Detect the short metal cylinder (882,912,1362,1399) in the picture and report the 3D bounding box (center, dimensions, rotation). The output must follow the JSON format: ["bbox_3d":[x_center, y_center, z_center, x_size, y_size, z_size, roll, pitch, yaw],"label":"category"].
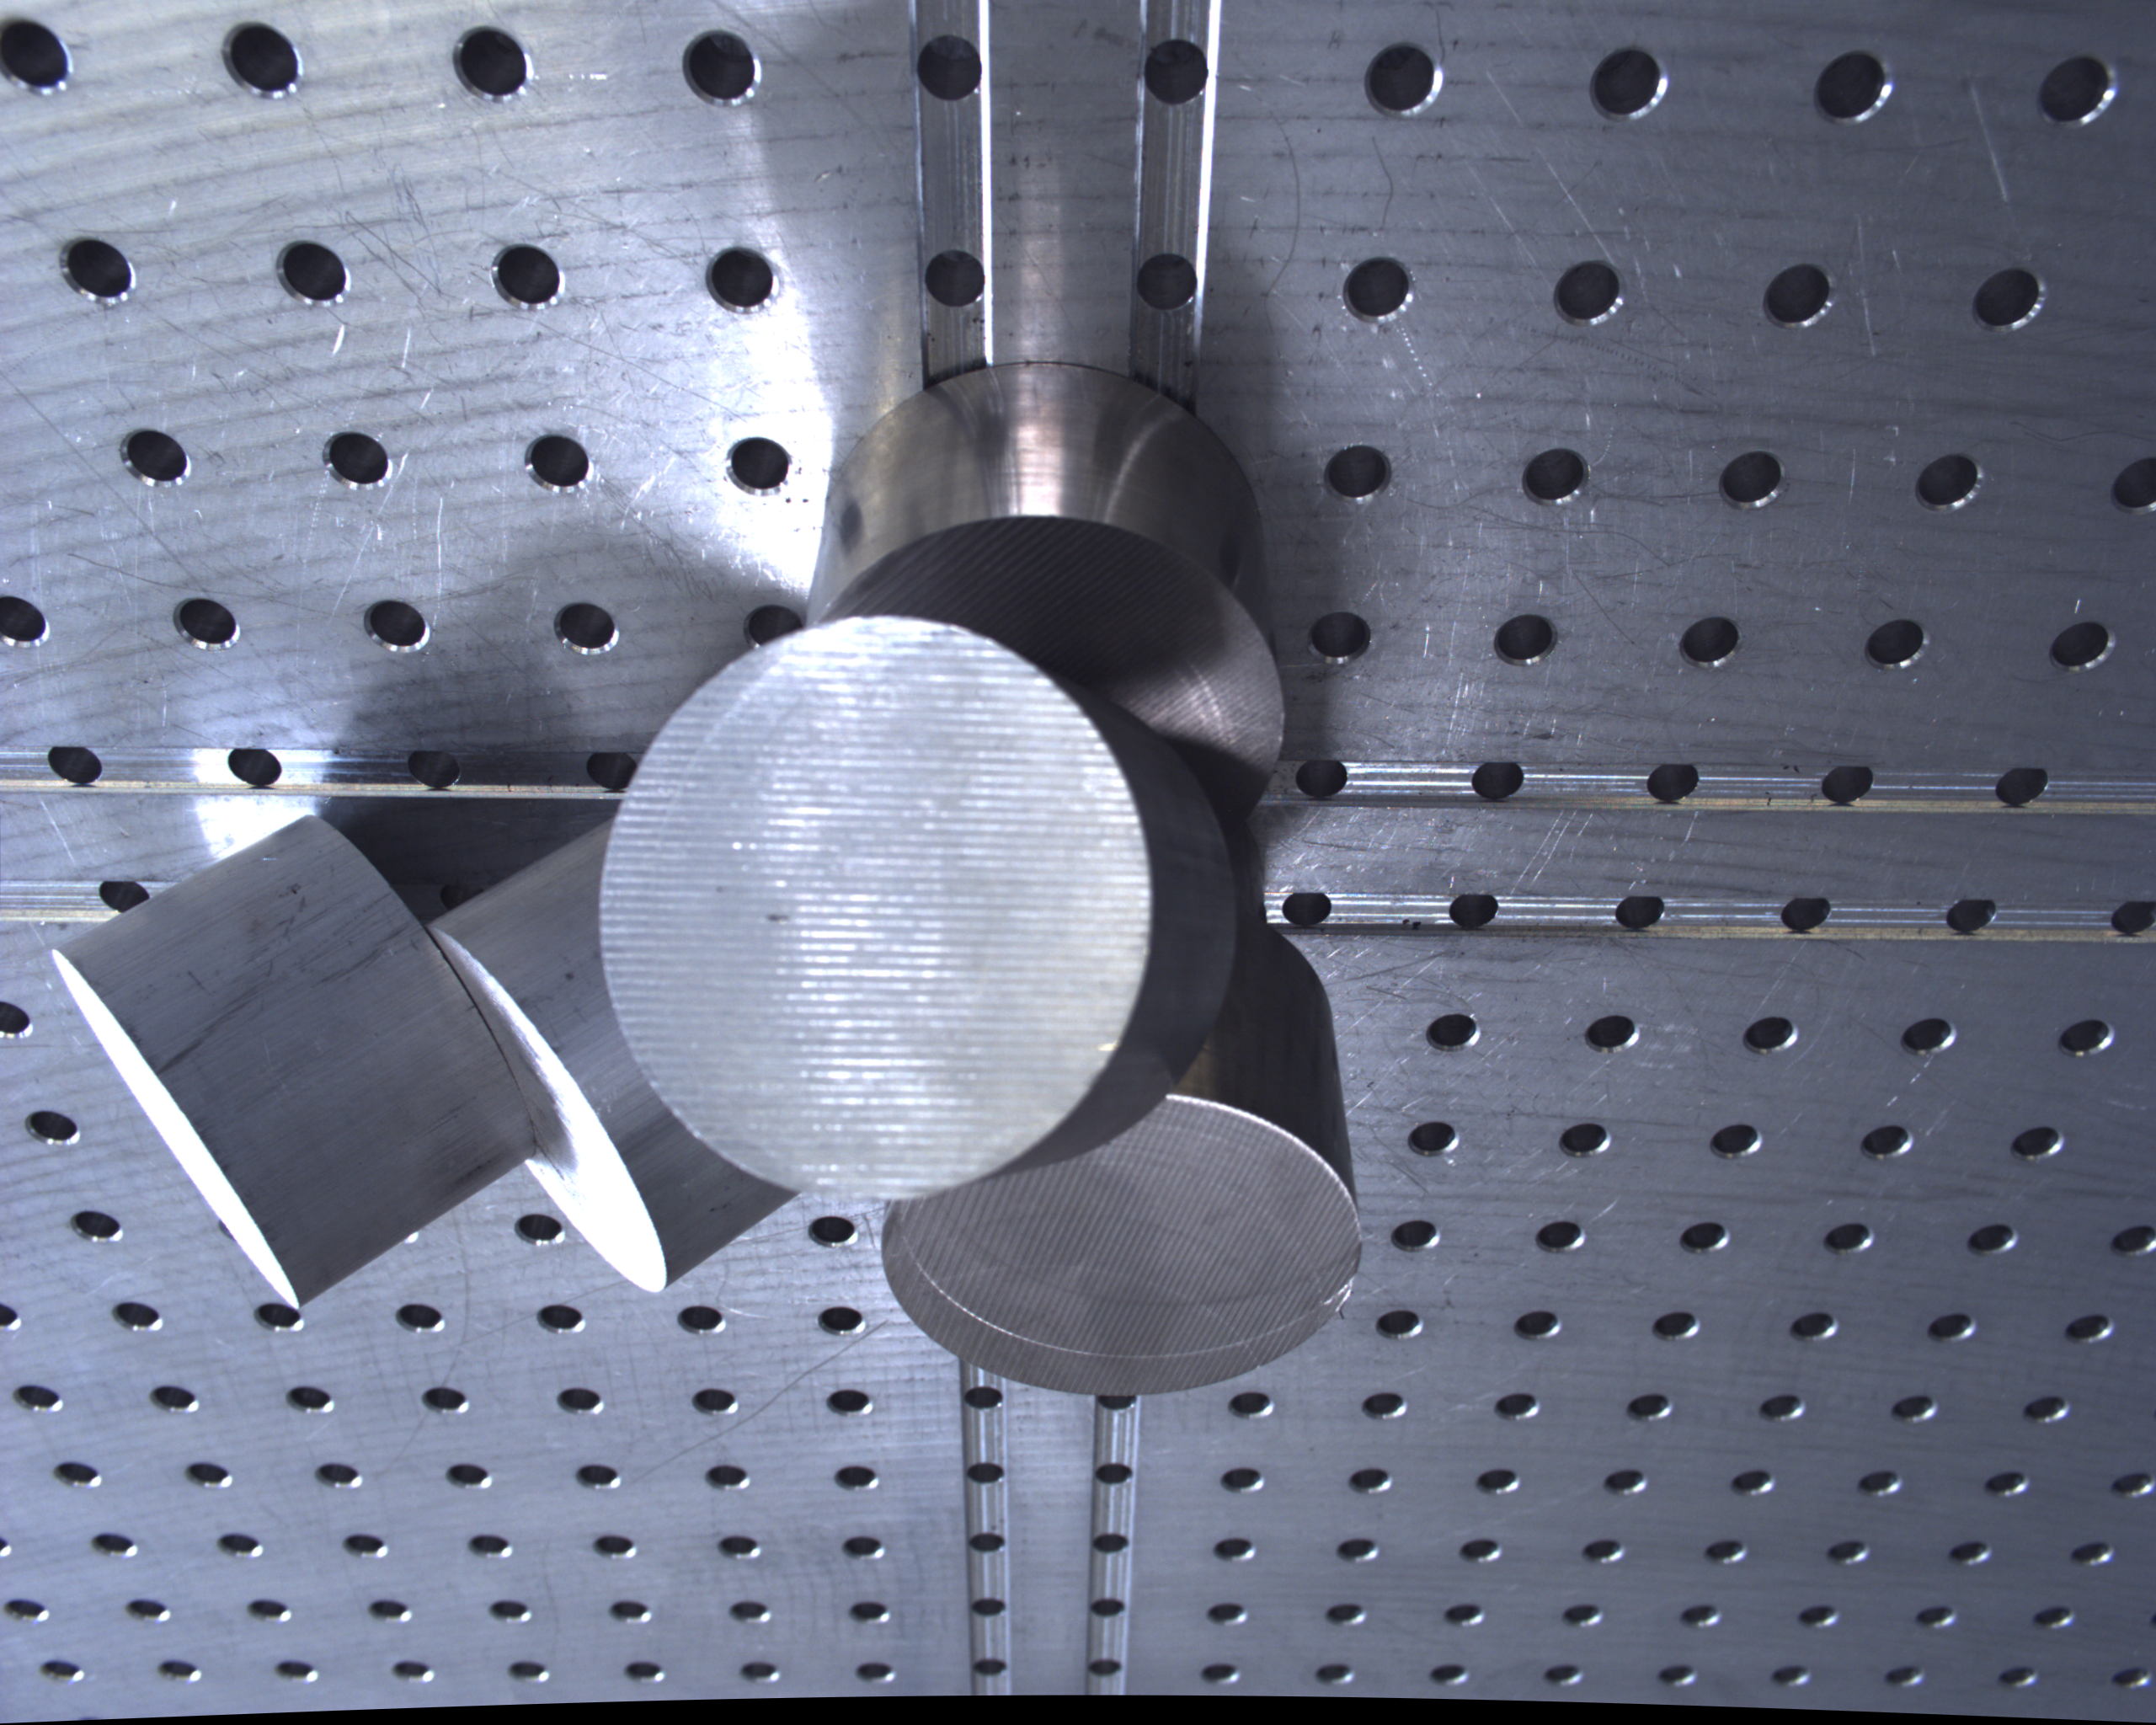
[{"bbox_3d":[0.007,0.051,0.370,0.081,0.050,0.079,0,130,0],"label":"short metal cylinder"}]

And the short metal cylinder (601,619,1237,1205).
[{"bbox_3d":[-0.022,0.008,0.307,0.080,0.080,0.050,-19,171,15],"label":"short metal cylinder"}]

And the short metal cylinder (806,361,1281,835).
[{"bbox_3d":[-0.007,-0.039,0.361,0.081,0.050,0.079,0,130,0],"label":"short metal cylinder"}]

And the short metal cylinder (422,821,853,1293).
[{"bbox_3d":[-0.080,0.033,0.394,0.050,0.080,0.080,-34,136,-27],"label":"short metal cylinder"}]

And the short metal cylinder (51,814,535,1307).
[{"bbox_3d":[-0.149,0.037,0.397,0.050,0.080,0.080,-35,136,-27],"label":"short metal cylinder"}]

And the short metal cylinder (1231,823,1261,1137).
[{"bbox_3d":[-0.002,0.022,0.413,0.081,0.050,0.079,0,130,0],"label":"short metal cylinder"}]
